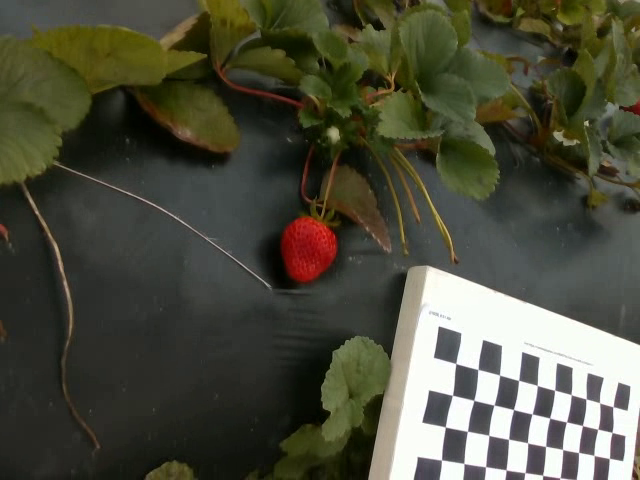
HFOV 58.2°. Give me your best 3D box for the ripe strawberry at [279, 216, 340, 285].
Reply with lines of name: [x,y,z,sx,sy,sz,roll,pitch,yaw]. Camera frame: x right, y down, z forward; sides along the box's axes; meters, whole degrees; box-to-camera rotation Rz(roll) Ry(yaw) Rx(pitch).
ripe strawberry: [-0.005,0.005,0.244,0.028,0.033,0.022,34,-24,-19]
